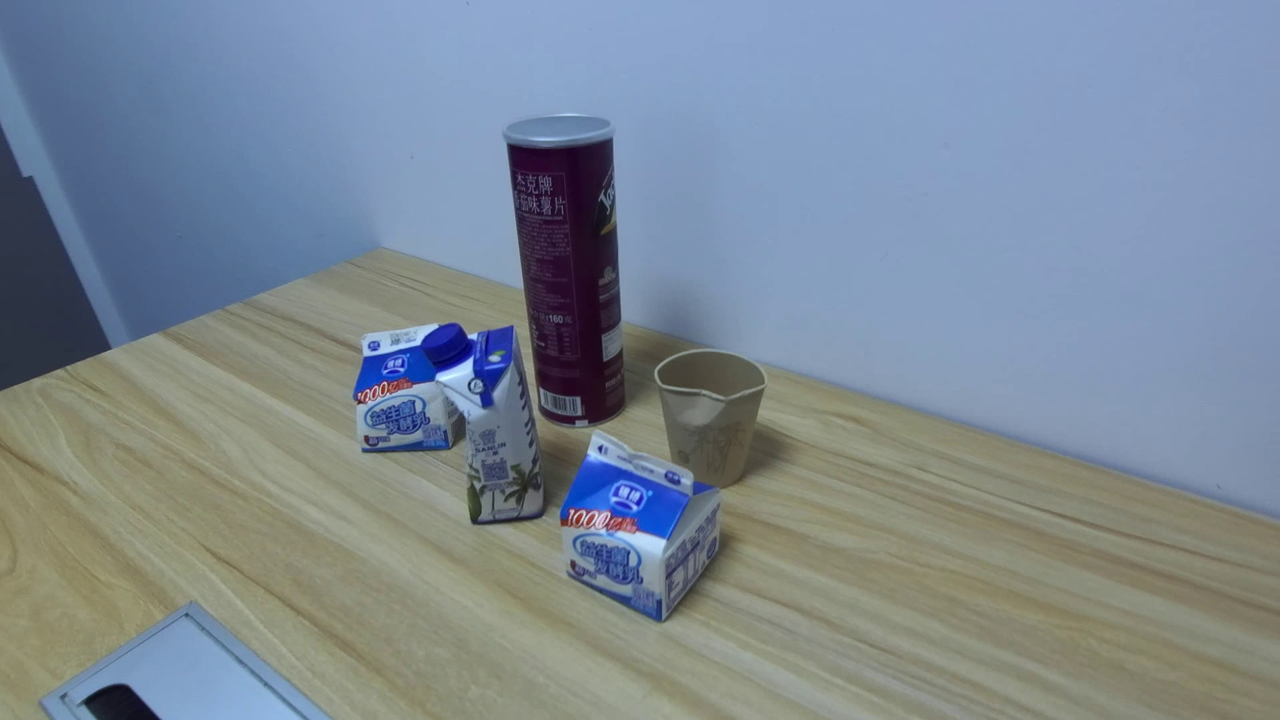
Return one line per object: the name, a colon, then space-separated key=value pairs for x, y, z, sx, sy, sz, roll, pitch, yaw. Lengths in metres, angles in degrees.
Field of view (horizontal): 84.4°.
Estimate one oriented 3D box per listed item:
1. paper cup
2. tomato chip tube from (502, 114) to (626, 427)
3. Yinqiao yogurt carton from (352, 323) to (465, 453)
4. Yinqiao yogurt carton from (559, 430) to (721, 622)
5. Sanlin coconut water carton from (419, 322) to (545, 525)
paper cup: x=0.049 y=0.044 z=0.511 sx=0.074 sy=0.081 sz=0.068 roll=-19 pitch=33 yaw=-28
tomato chip tube: x=-0.053 y=-0.062 z=0.552 sx=0.078 sy=0.234 sz=0.078 roll=-1 pitch=30 yaw=1
Yinqiao yogurt carton: x=-0.186 y=0.015 z=0.572 sx=0.083 sy=0.093 sz=0.077 roll=-2 pitch=30 yaw=-2
Yinqiao yogurt carton: x=0.002 y=0.091 z=0.431 sx=0.075 sy=0.092 sz=0.074 roll=18 pitch=35 yaw=29
Sanlin coconut water carton: x=-0.100 y=0.040 z=0.478 sx=0.058 sy=0.142 sz=0.078 roll=-10 pitch=31 yaw=-2
